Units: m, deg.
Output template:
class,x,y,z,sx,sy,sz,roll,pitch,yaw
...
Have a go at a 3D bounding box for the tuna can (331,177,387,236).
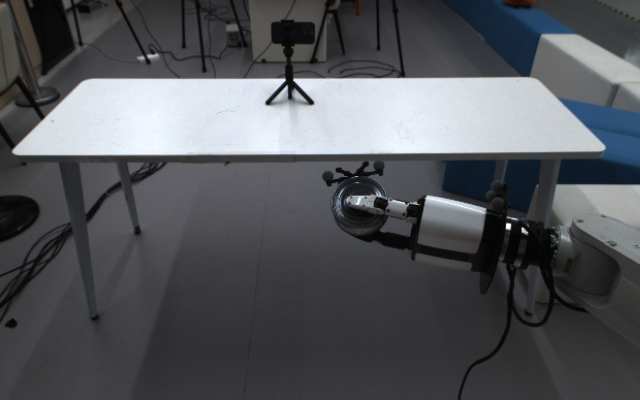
class,x,y,z,sx,sy,sz,roll,pitch,yaw
tuna can,0.064,0.013,0.715,0.085,0.034,0.085,-4,68,9
